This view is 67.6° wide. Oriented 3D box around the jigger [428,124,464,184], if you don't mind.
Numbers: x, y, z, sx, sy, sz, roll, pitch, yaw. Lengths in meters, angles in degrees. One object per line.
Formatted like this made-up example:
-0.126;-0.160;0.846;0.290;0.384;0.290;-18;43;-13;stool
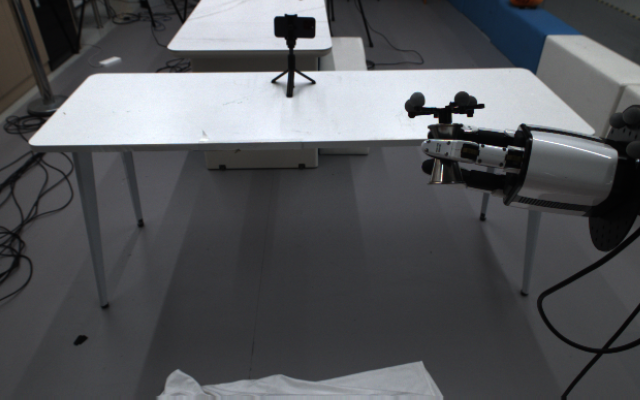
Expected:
0.145;-0.053;0.563;0.043;0.071;0.043;-2;3;0;jigger
